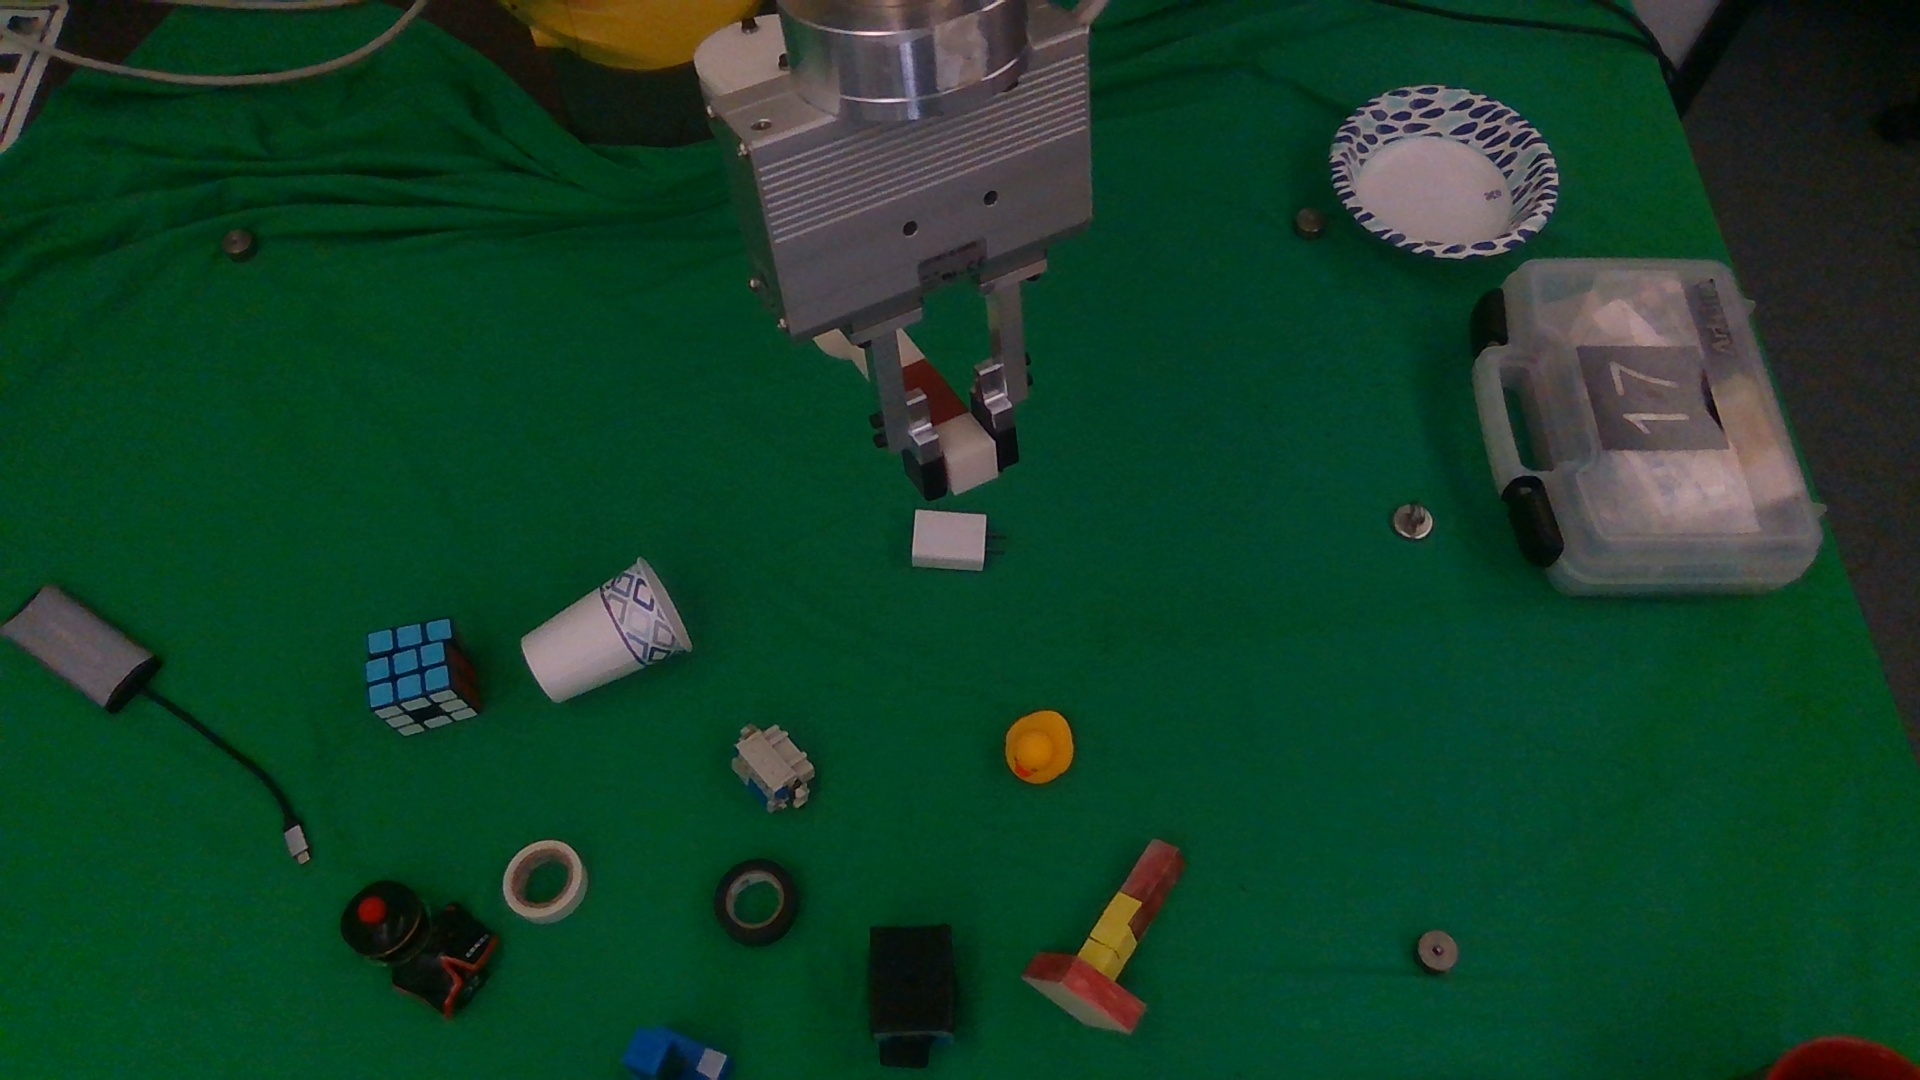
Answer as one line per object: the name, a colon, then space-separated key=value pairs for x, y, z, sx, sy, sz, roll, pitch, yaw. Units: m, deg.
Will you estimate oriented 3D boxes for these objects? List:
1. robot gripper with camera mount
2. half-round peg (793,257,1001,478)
robot gripper with camera mount: x=-0.048 y=-0.129 z=0.541 sx=0.119 sy=0.158 sz=0.194 roll=-26 pitch=45 yaw=-15
half-round peg: x=-0.022 y=-0.070 z=0.567 sx=0.054 sy=0.031 sz=0.122 roll=-25 pitch=48 yaw=-13
